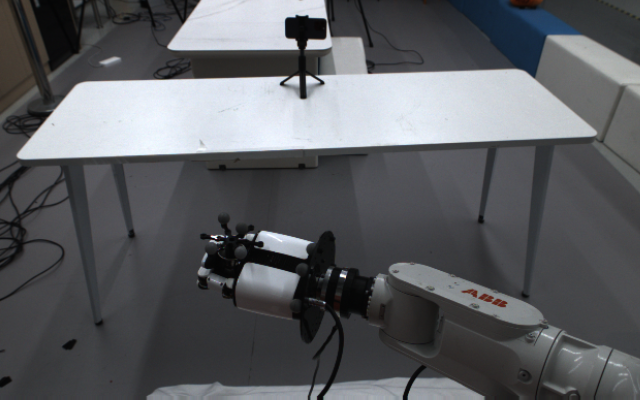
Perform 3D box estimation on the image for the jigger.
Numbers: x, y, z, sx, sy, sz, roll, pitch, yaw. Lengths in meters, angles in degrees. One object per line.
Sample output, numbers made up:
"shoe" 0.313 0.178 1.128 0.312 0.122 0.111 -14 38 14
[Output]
"jigger" -0.129 0.098 0.704 0.043 0.071 0.043 6 32 -4
